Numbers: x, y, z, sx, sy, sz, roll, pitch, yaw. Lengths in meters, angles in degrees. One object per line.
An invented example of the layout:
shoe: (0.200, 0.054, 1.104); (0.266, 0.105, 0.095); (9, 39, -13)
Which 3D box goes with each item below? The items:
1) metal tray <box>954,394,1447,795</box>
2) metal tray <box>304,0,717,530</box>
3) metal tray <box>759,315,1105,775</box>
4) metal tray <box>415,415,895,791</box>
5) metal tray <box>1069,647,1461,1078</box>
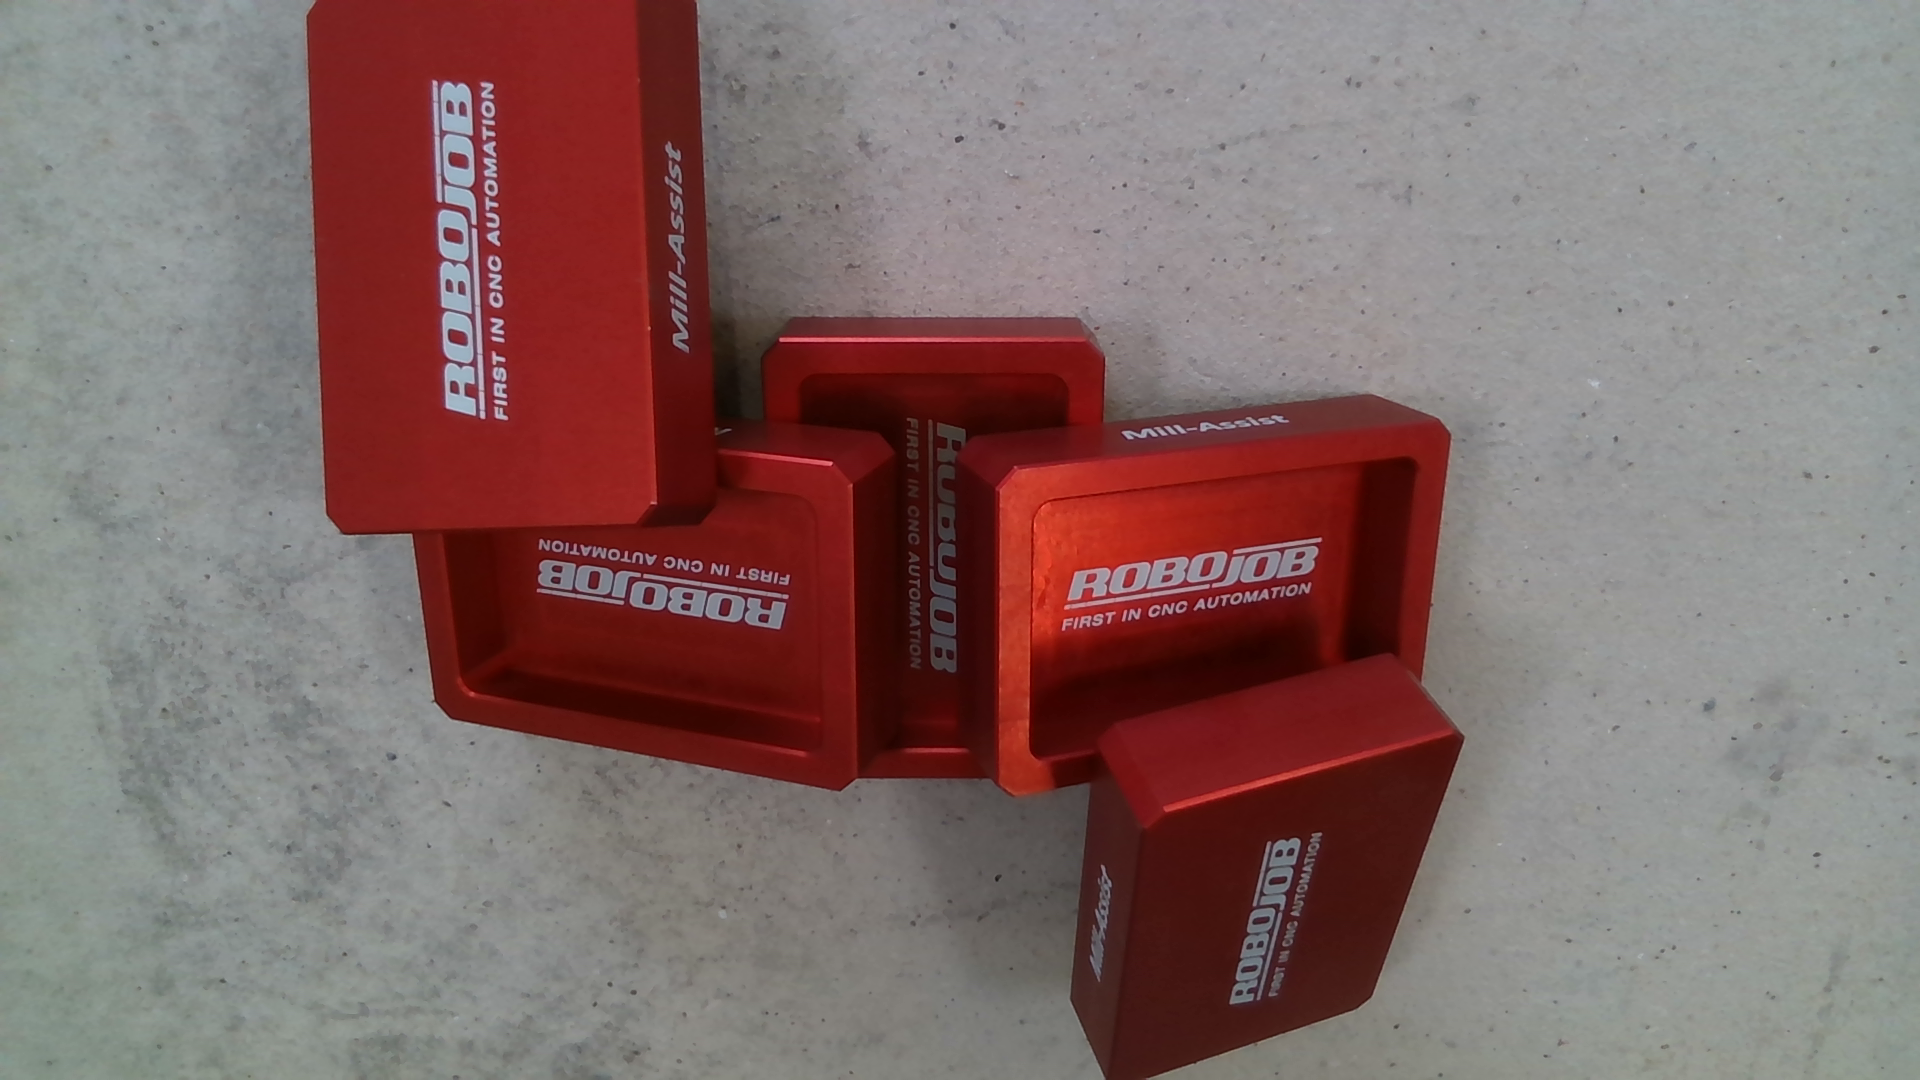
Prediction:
metal tray: (0.065, 0.012, 0.374); (0.130, 0.030, 0.090); (-7, 112, -18)
metal tray: (-0.109, -0.069, 0.334); (0.090, 0.030, 0.130); (-1, 93, 18)
metal tray: (-0.007, 0.003, 0.392); (0.090, 0.030, 0.130); (0, 110, 0)
metal tray: (-0.083, 0.011, 0.373); (0.130, 0.030, 0.090); (7, 111, 17)
metal tray: (0.082, 0.095, 0.392); (0.090, 0.030, 0.130); (-13, 132, -15)
